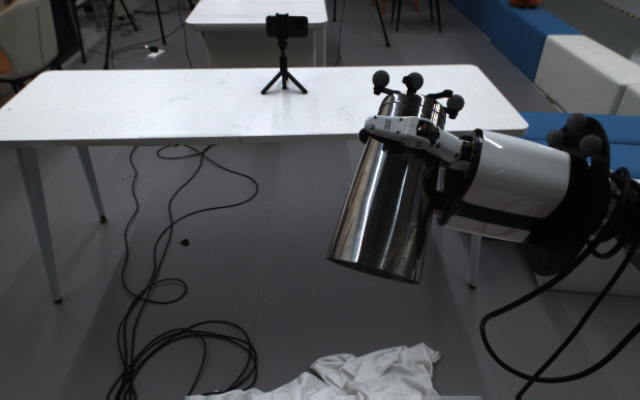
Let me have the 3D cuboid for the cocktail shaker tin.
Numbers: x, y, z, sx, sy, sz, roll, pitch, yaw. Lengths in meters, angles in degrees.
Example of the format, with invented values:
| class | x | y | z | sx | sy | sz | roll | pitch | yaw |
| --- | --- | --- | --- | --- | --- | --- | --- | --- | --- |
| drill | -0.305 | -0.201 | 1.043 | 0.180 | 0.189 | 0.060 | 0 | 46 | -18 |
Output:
| class | x | y | z | sx | sy | sz | roll | pitch | yaw |
| --- | --- | --- | --- | --- | --- | --- | --- | --- | --- |
| cocktail shaker tin | 0.076 | -0.015 | 0.472 | 0.093 | 0.093 | 0.170 | 13 | 79 | 15 |
